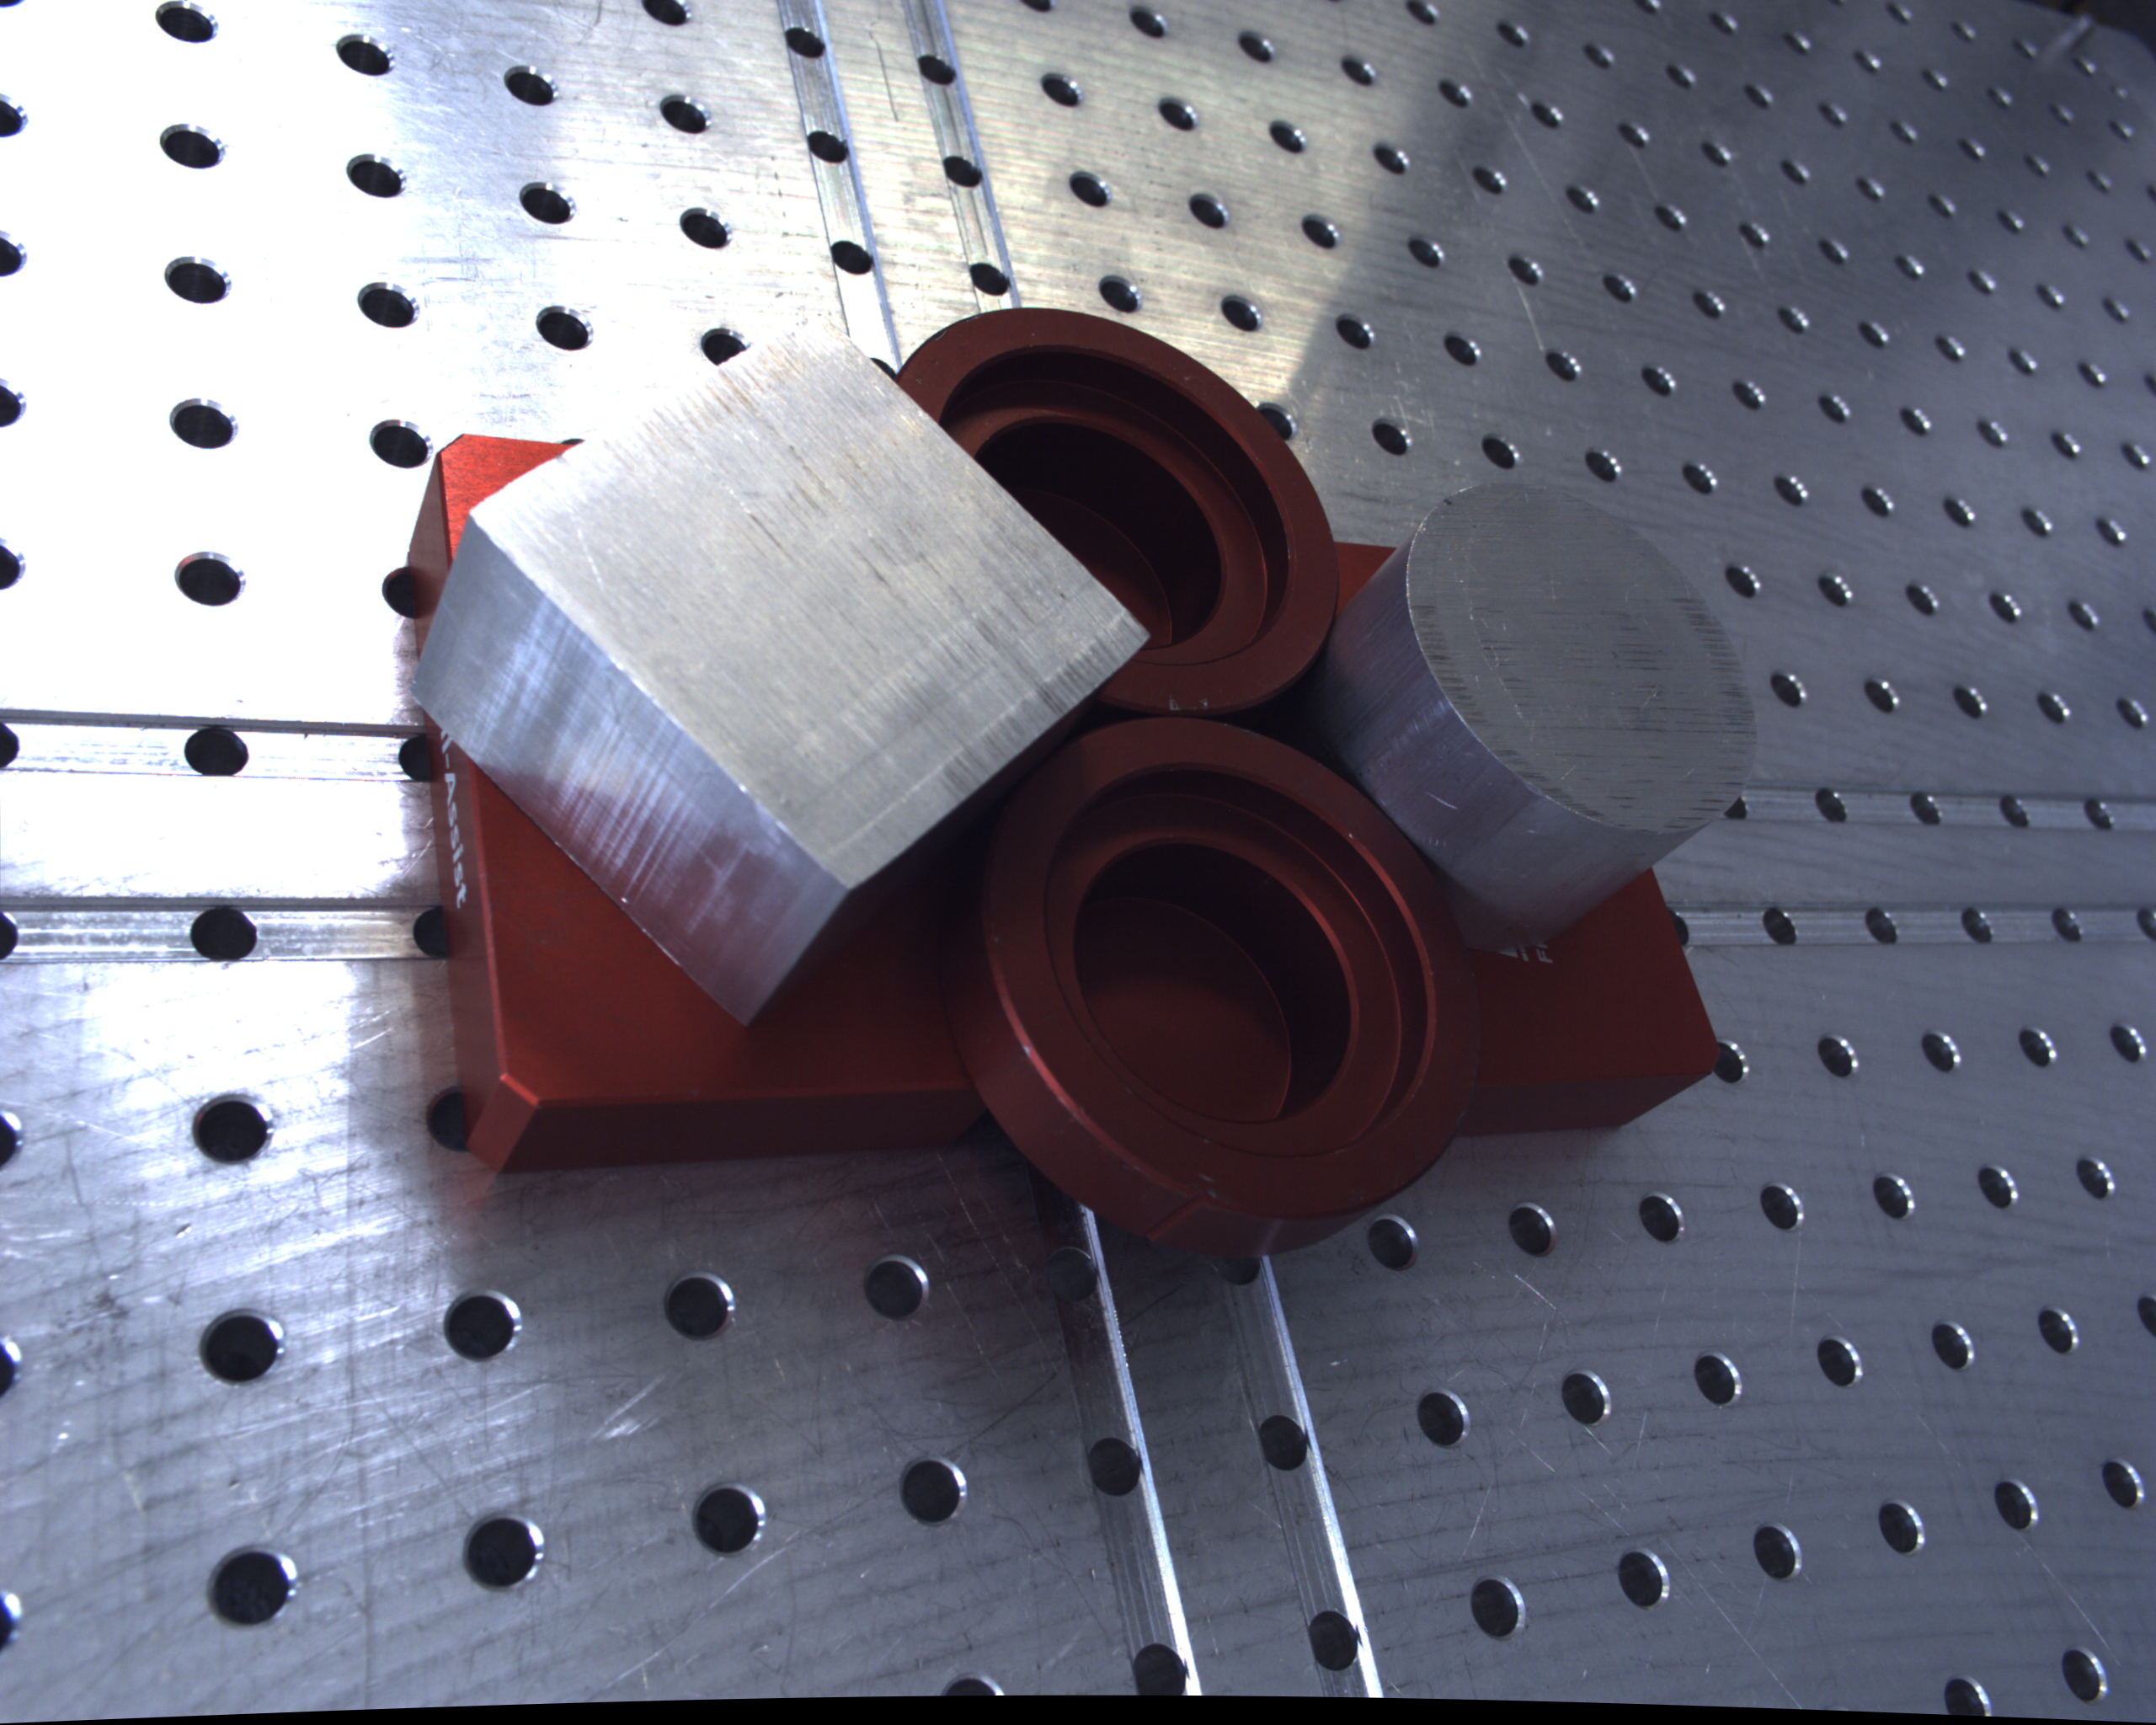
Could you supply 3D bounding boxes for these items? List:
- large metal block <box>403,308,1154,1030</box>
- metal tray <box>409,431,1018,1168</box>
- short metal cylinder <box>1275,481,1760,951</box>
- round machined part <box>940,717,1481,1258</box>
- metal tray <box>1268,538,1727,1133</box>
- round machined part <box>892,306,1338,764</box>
[{"bbox_3d":[-0.049,-0.033,0.347,0.080,0.050,0.080,45,51,3],"label":"large metal block"},{"bbox_3d":[-0.067,-0.013,0.376,0.091,0.030,0.130,1,61,-29],"label":"metal tray"},{"bbox_3d":[0.087,-0.029,0.417,0.081,0.050,0.080,14,56,-21],"label":"short metal cylinder"},{"bbox_3d":[0.021,0.025,0.381,0.099,0.042,0.098,14,56,-21],"label":"round machined part"},{"bbox_3d":[0.076,-0.008,0.448,0.091,0.030,0.130,1,61,-28],"label":"metal tray"},{"bbox_3d":[0.000,-0.061,0.423,0.099,0.042,0.098,14,56,-21],"label":"round machined part"}]
